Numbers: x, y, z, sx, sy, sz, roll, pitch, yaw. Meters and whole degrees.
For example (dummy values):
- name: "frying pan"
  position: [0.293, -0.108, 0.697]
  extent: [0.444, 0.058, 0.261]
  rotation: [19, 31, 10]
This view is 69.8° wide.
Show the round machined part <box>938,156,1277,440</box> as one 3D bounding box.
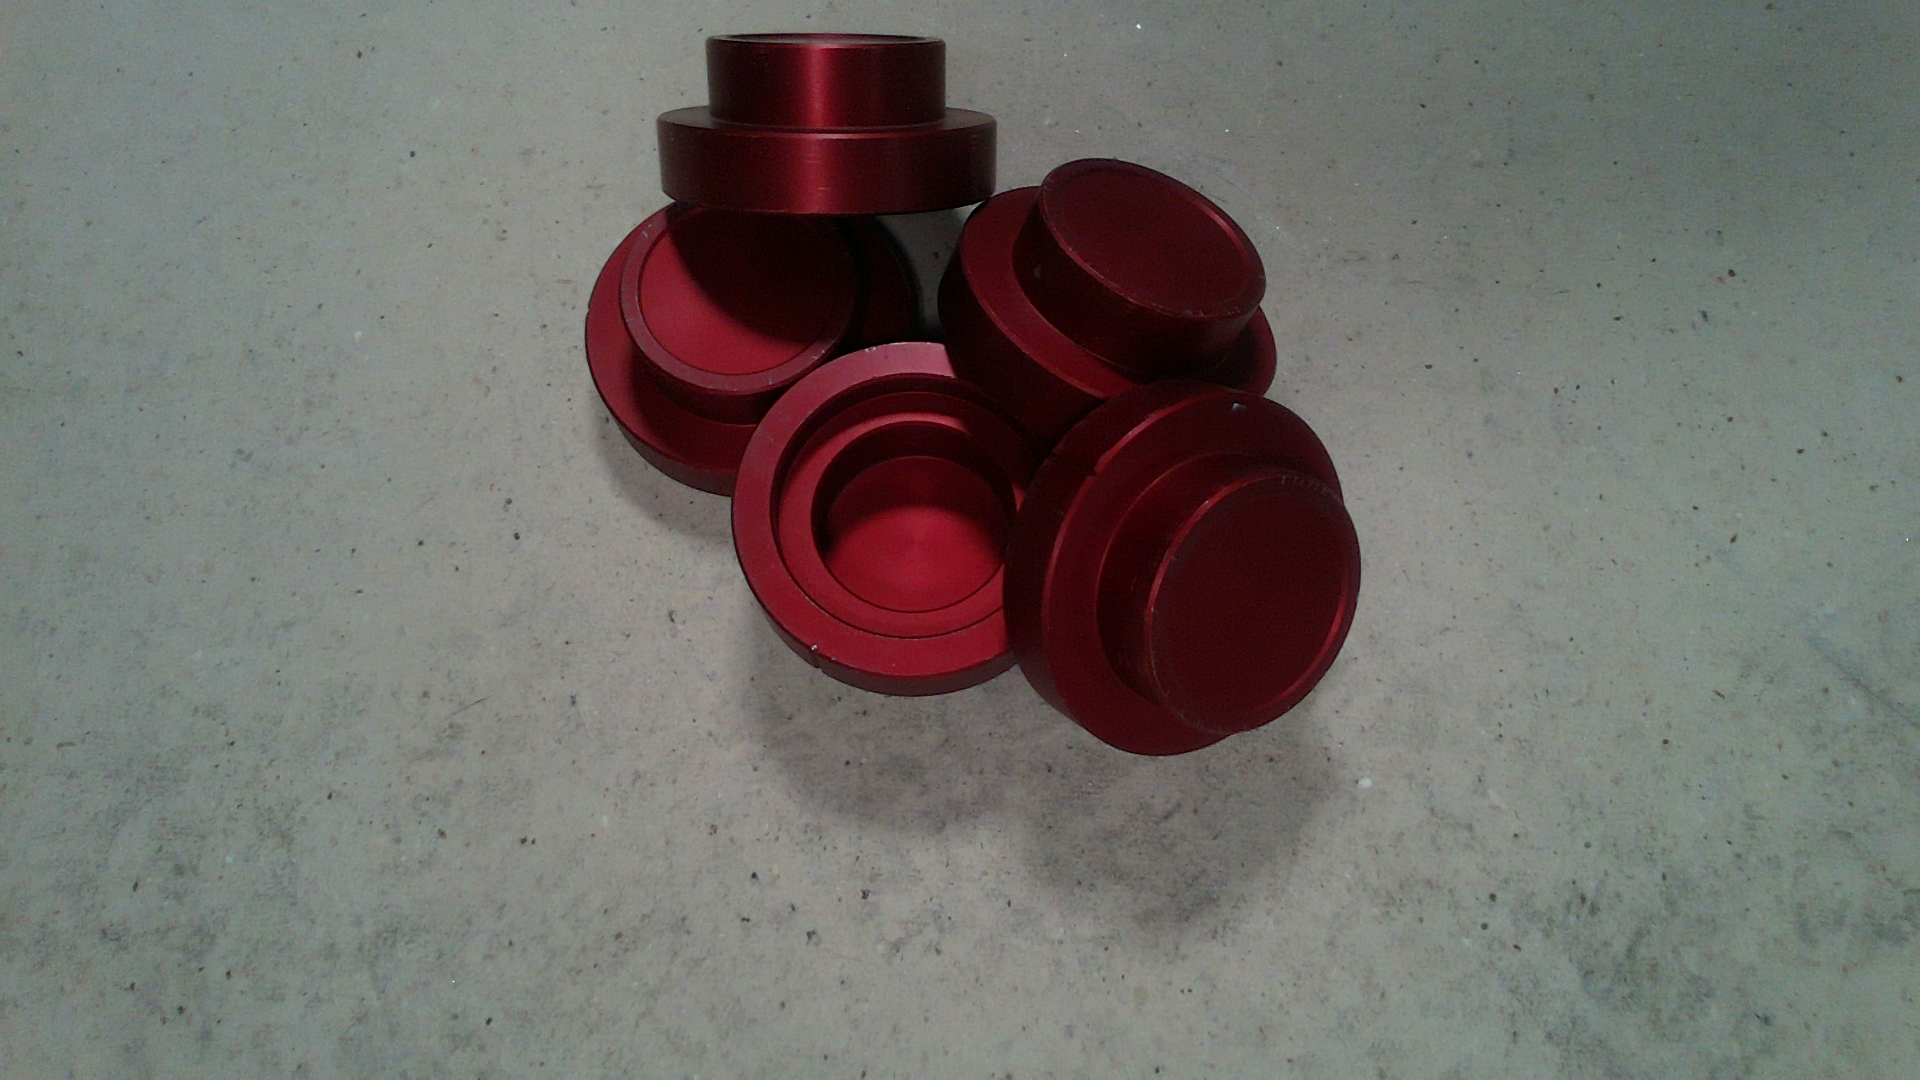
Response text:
- name: "round machined part"
  position: [0.046, -0.071, 0.388]
  extent: [0.098, 0.042, 0.098]
  rotation: [15, 44, -15]

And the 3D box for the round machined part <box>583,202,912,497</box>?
- name: "round machined part"
  position: [-0.064, -0.065, 0.411]
  extent: [0.098, 0.042, 0.098]
  rotation: [0, 70, 0]

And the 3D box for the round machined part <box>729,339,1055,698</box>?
- name: "round machined part"
  position: [-0.012, -0.003, 0.387]
  extent: [0.098, 0.042, 0.098]
  rotation: [0, 70, 0]

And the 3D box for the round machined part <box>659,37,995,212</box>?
- name: "round machined part"
  position: [-0.038, -0.124, 0.400]
  extent: [0.098, 0.098, 0.042]
  rotation: [1, 112, 0]

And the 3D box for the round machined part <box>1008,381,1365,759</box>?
- name: "round machined part"
  position: [0.064, 0.011, 0.352]
  extent: [0.098, 0.098, 0.042]
  rotation: [-41, 34, -14]
